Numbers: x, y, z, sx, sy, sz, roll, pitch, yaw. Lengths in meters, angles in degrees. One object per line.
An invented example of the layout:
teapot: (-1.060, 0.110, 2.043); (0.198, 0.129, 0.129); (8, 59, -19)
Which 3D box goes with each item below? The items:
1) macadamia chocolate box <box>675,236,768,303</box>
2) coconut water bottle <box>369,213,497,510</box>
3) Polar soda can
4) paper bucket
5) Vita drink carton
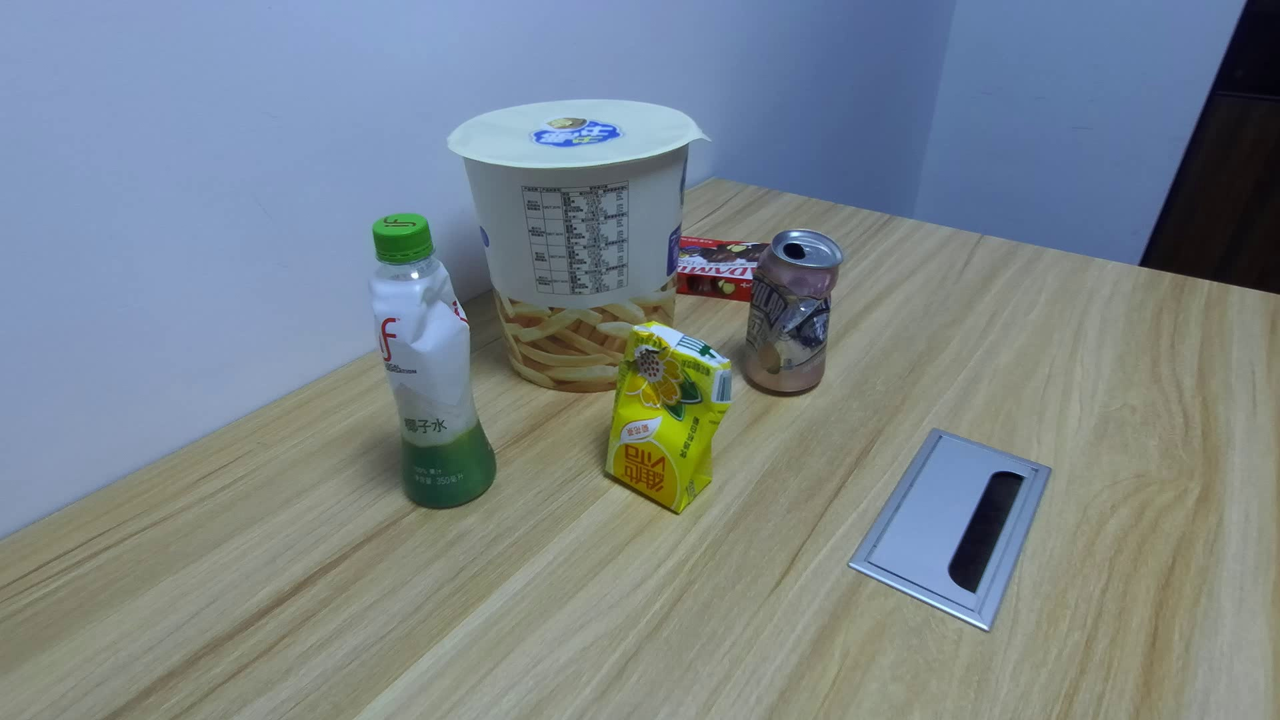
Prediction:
macadamia chocolate box: (0.107, -0.094, 0.736); (0.182, 0.028, 0.106); (8, 34, 13)
coconut water bottle: (-0.132, 0.003, 0.441); (0.069, 0.186, 0.069); (-1, 34, 1)
Polar soda can: (0.124, -0.032, 0.562); (0.067, 0.122, 0.071); (2, 27, -11)
paper bucket: (-0.047, -0.094, 0.584); (0.198, 0.195, 0.198); (-1, 33, 1)
Vita drink carton: (0.020, 0.035, 0.464); (0.086, 0.108, 0.042); (25, 27, 30)
